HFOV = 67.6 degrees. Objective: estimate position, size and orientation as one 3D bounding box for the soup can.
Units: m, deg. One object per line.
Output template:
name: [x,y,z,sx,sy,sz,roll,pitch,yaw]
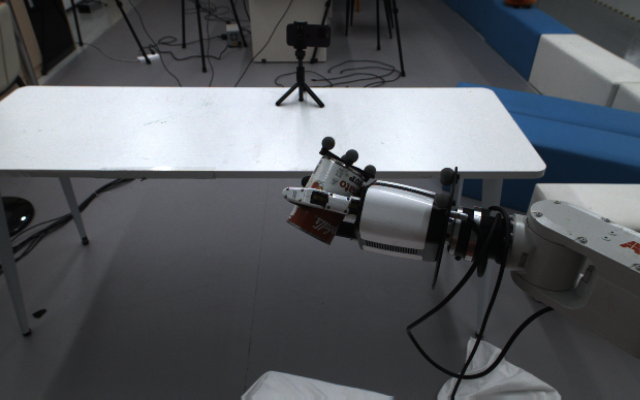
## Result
soup can: [0.009,0.000,0.647,0.067,0.101,0.067,28,-3,1]
